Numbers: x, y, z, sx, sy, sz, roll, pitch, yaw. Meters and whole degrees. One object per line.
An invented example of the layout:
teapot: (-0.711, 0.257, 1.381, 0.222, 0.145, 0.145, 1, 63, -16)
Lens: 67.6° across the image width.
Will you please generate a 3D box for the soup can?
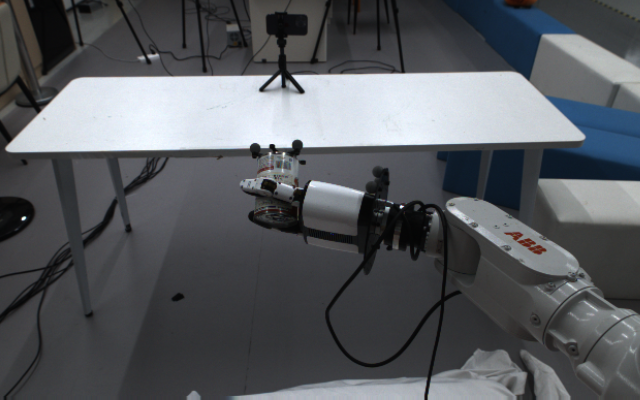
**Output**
soup can: (-0.066, -0.015, 0.747, 0.067, 0.067, 0.101, 1, 68, -1)
